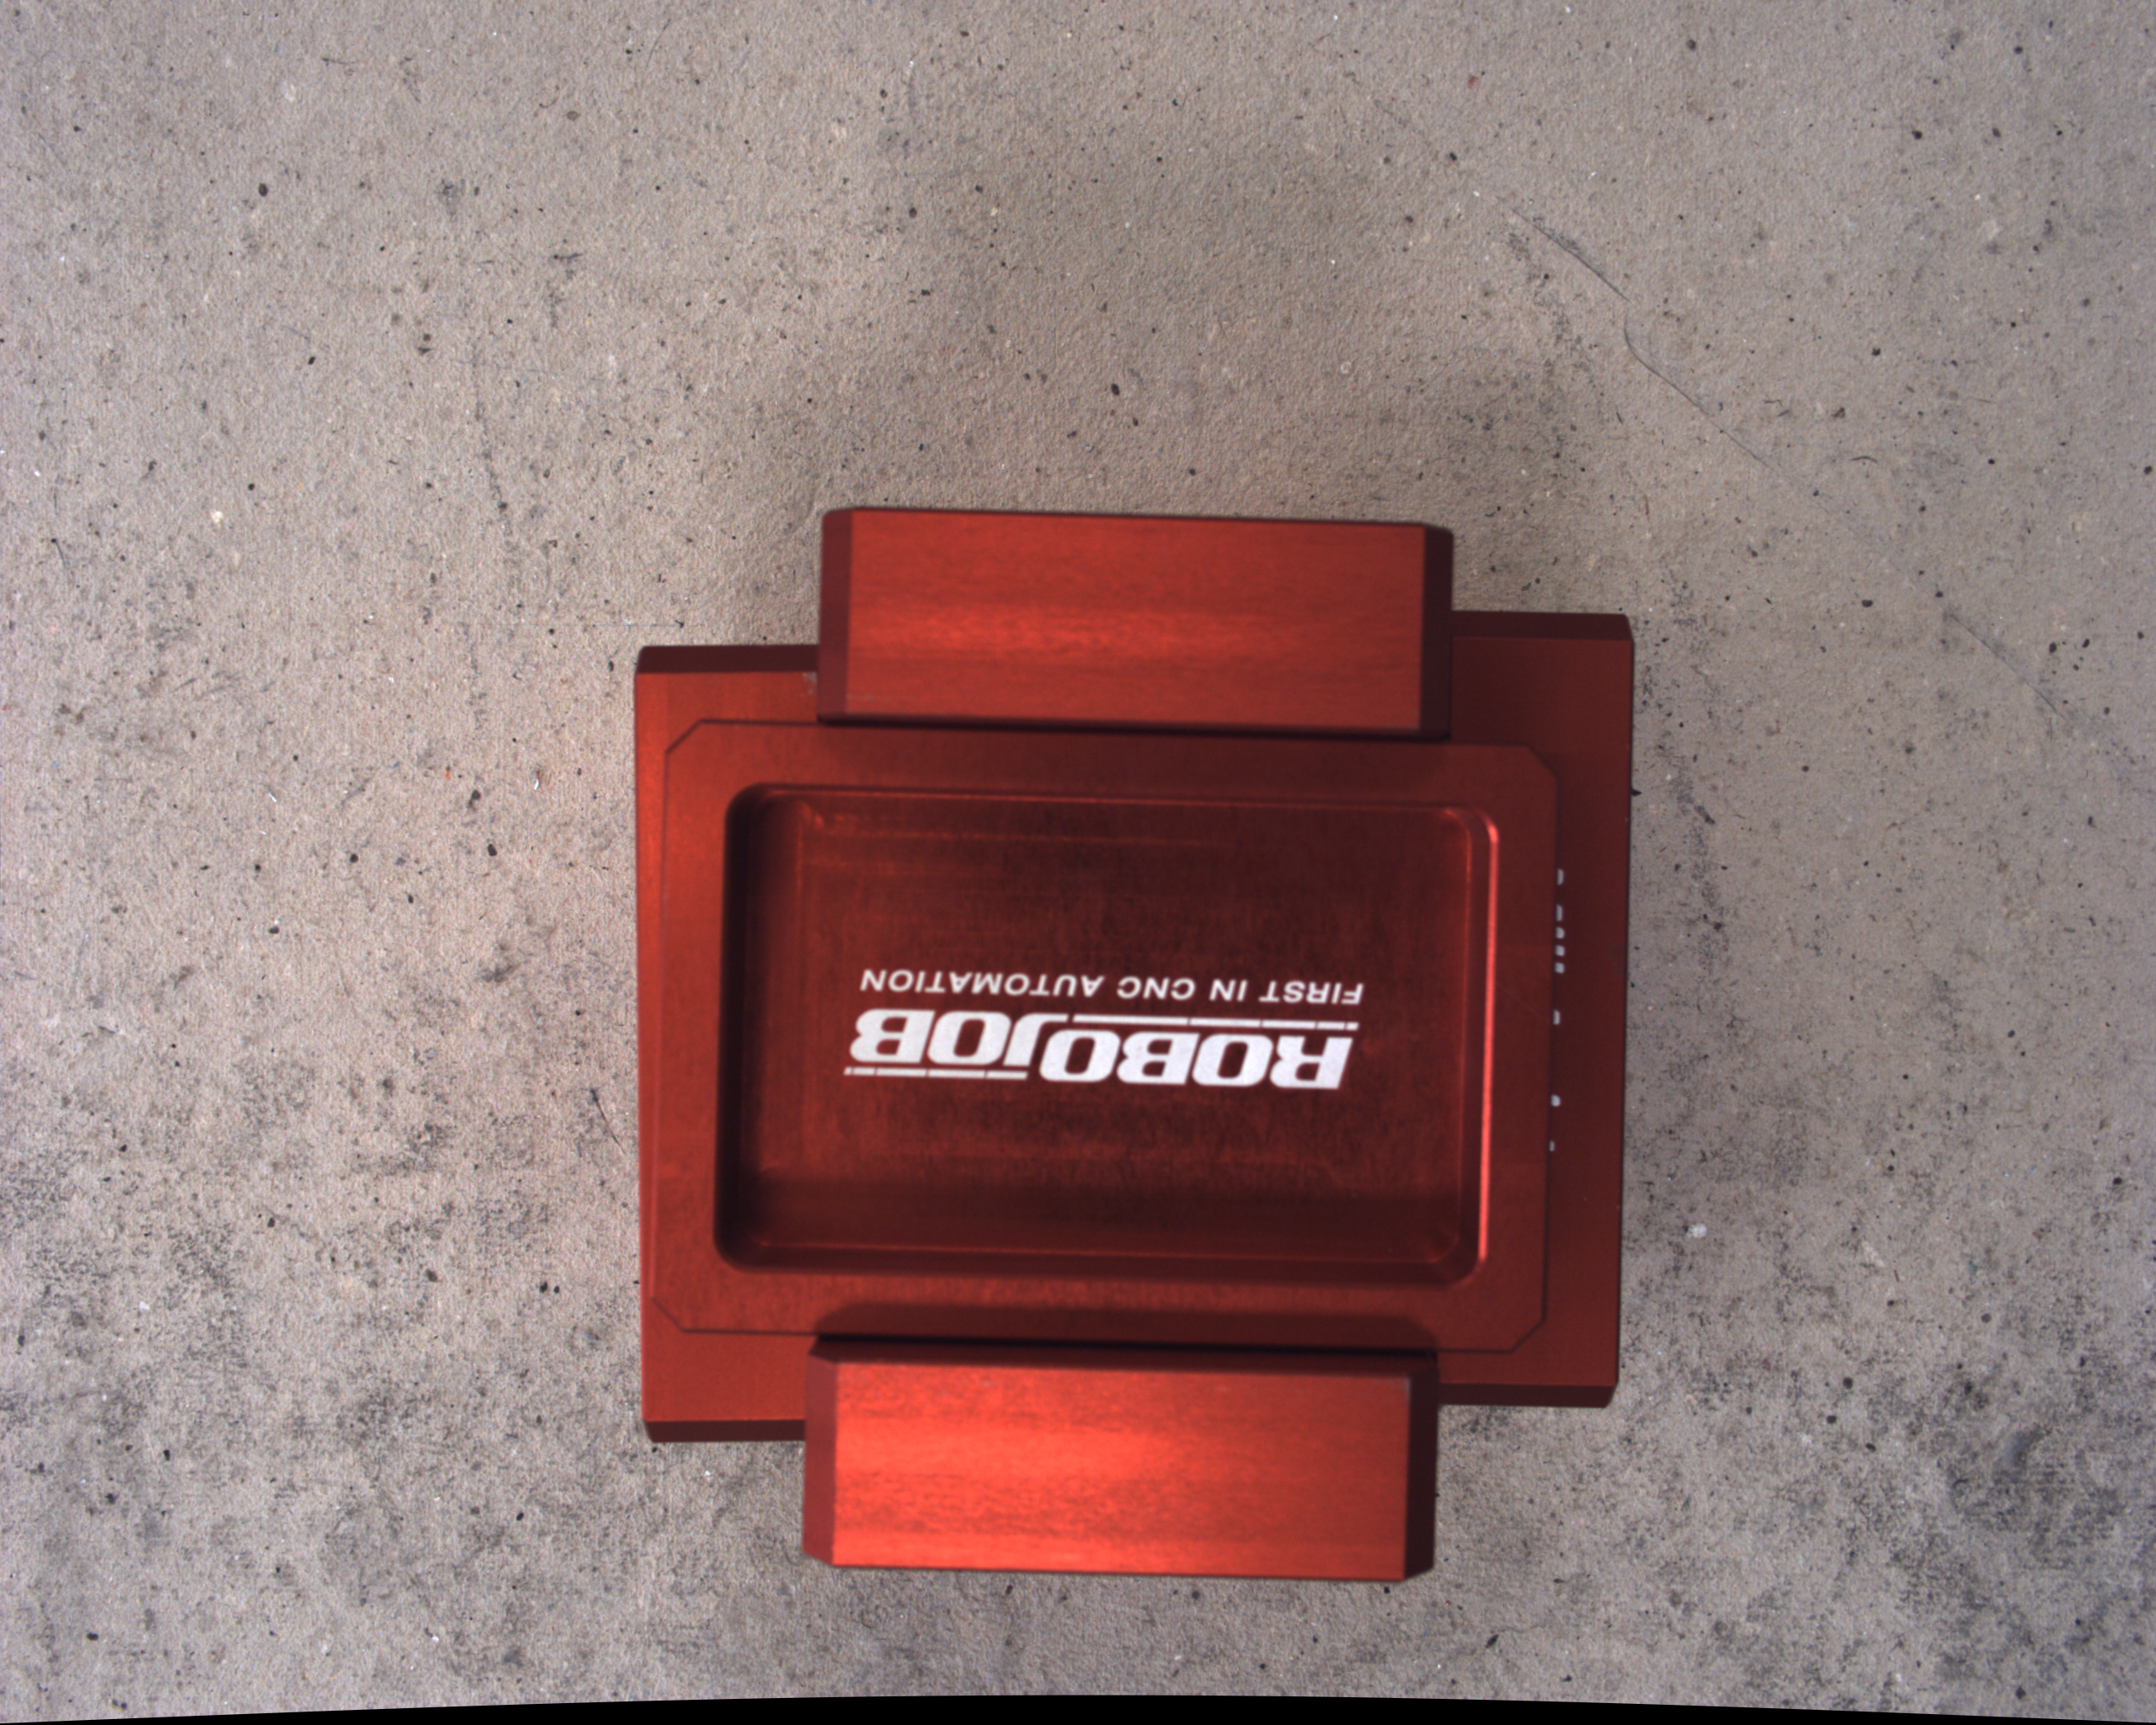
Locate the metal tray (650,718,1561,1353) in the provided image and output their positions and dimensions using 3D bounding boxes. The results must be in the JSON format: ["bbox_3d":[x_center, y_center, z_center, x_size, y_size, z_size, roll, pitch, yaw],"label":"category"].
[{"bbox_3d":[0.004,0.025,0.319,0.131,0.030,0.089,2,91,0],"label":"metal tray"}]

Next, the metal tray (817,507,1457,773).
[{"bbox_3d":[0.008,-0.034,0.358,0.091,0.130,0.030,2,90,0],"label":"metal tray"}]

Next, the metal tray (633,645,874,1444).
[{"bbox_3d":[-0.056,0.029,0.378,0.030,0.090,0.129,-1,90,0],"label":"metal tray"}]

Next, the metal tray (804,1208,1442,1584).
[{"bbox_3d":[0.007,0.085,0.358,0.091,0.130,0.030,1,91,0],"label":"metal tray"}]

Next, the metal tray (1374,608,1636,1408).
[{"bbox_3d":[0.074,0.024,0.379,0.030,0.090,0.129,1,89,1],"label":"metal tray"}]
